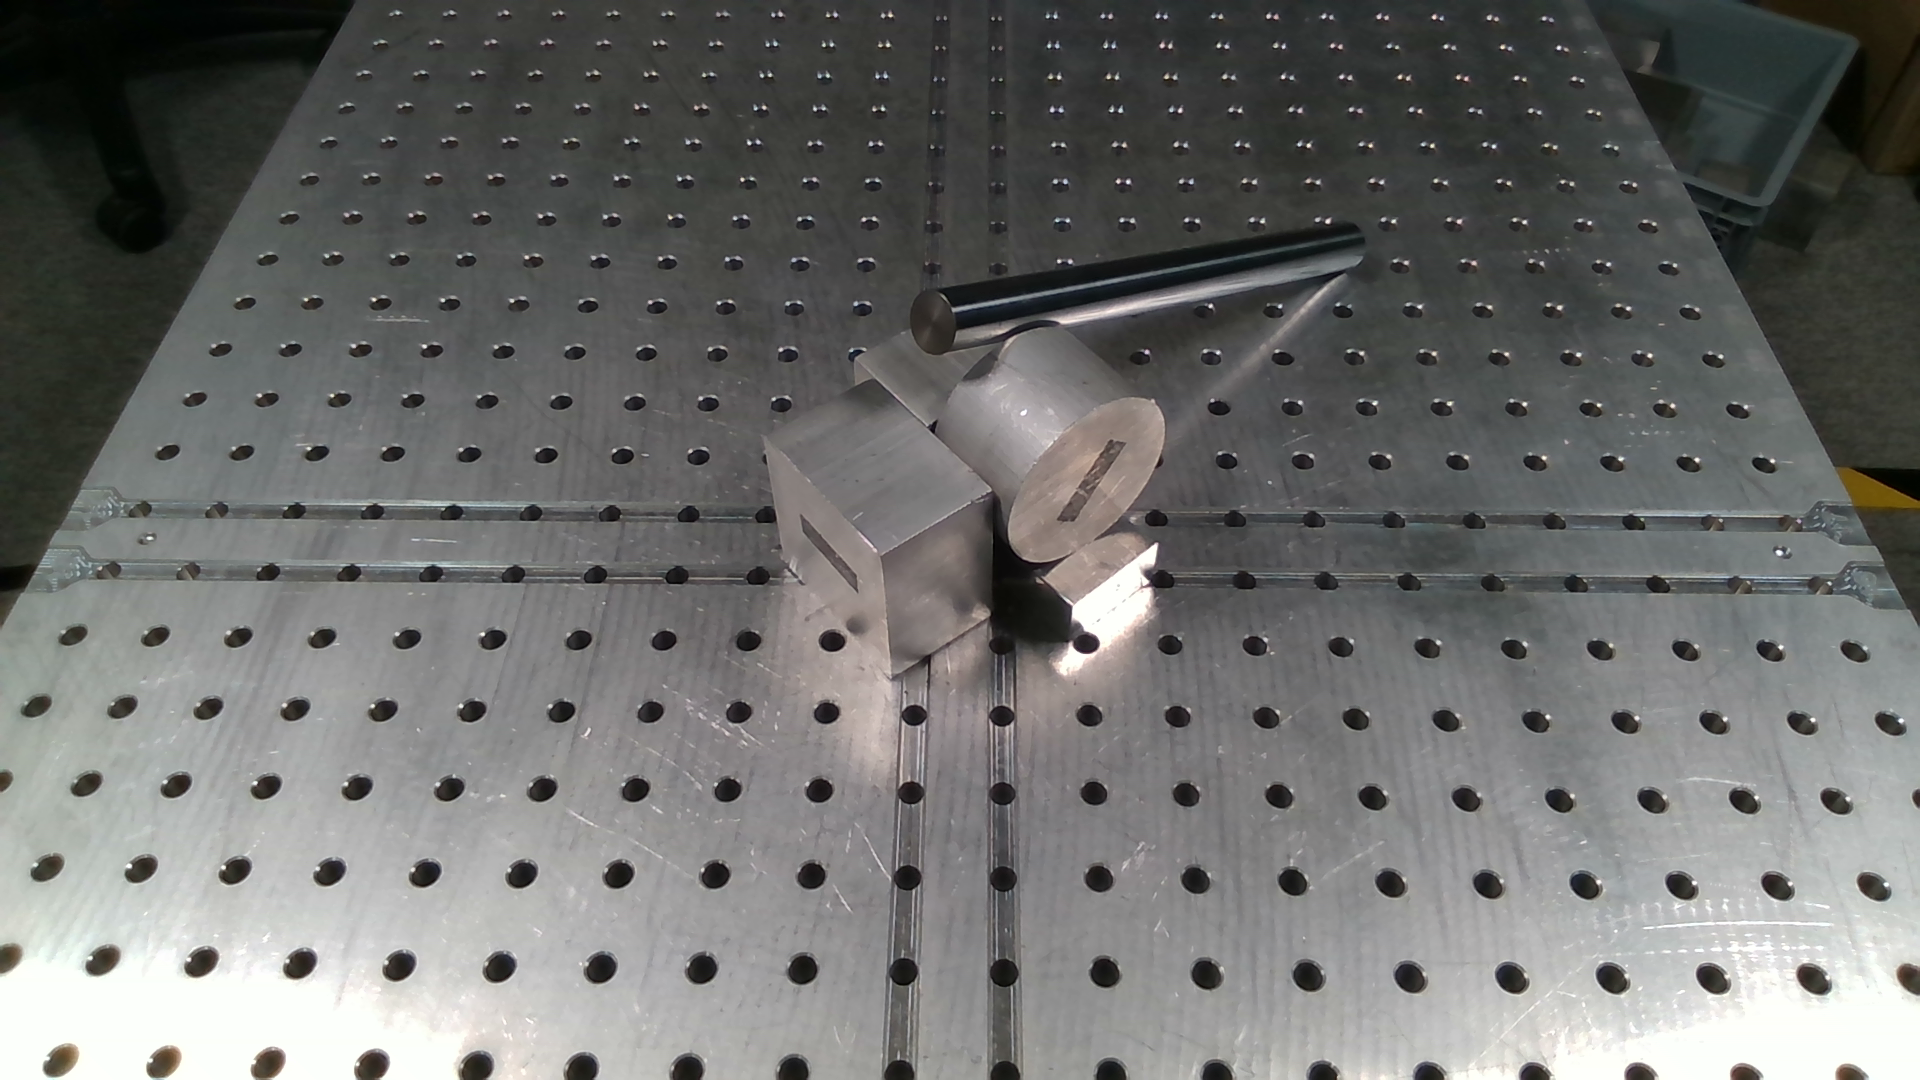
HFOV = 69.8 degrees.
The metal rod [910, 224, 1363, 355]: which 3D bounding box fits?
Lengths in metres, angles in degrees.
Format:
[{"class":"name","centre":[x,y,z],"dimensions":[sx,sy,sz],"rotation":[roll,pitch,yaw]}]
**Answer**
[{"class":"metal rod","centre":[0.095,-0.118,0.620],"dimensions":[0.300,0.025,0.025],"rotation":[-19,49,-42]}]

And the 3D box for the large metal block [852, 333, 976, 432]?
[{"class":"large metal block","centre":[0.003,-0.052,0.599],"dimensions":[0.080,0.080,0.050],"rotation":[-31,56,-23]}]

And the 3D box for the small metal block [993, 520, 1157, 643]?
[{"class":"small metal block","centre":[0.047,0.008,0.584],"dimensions":[0.050,0.025,0.050],"rotation":[-34,58,-25]}]

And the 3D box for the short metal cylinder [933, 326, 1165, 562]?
[{"class":"short metal cylinder","centre":[0.035,-0.038,0.553],"dimensions":[0.080,0.080,0.050],"rotation":[-30,56,-22]}]

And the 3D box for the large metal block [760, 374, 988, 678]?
[{"class":"large metal block","centre":[-0.034,-0.006,0.557],"dimensions":[0.050,0.080,0.080],"rotation":[-31,57,-23]}]
